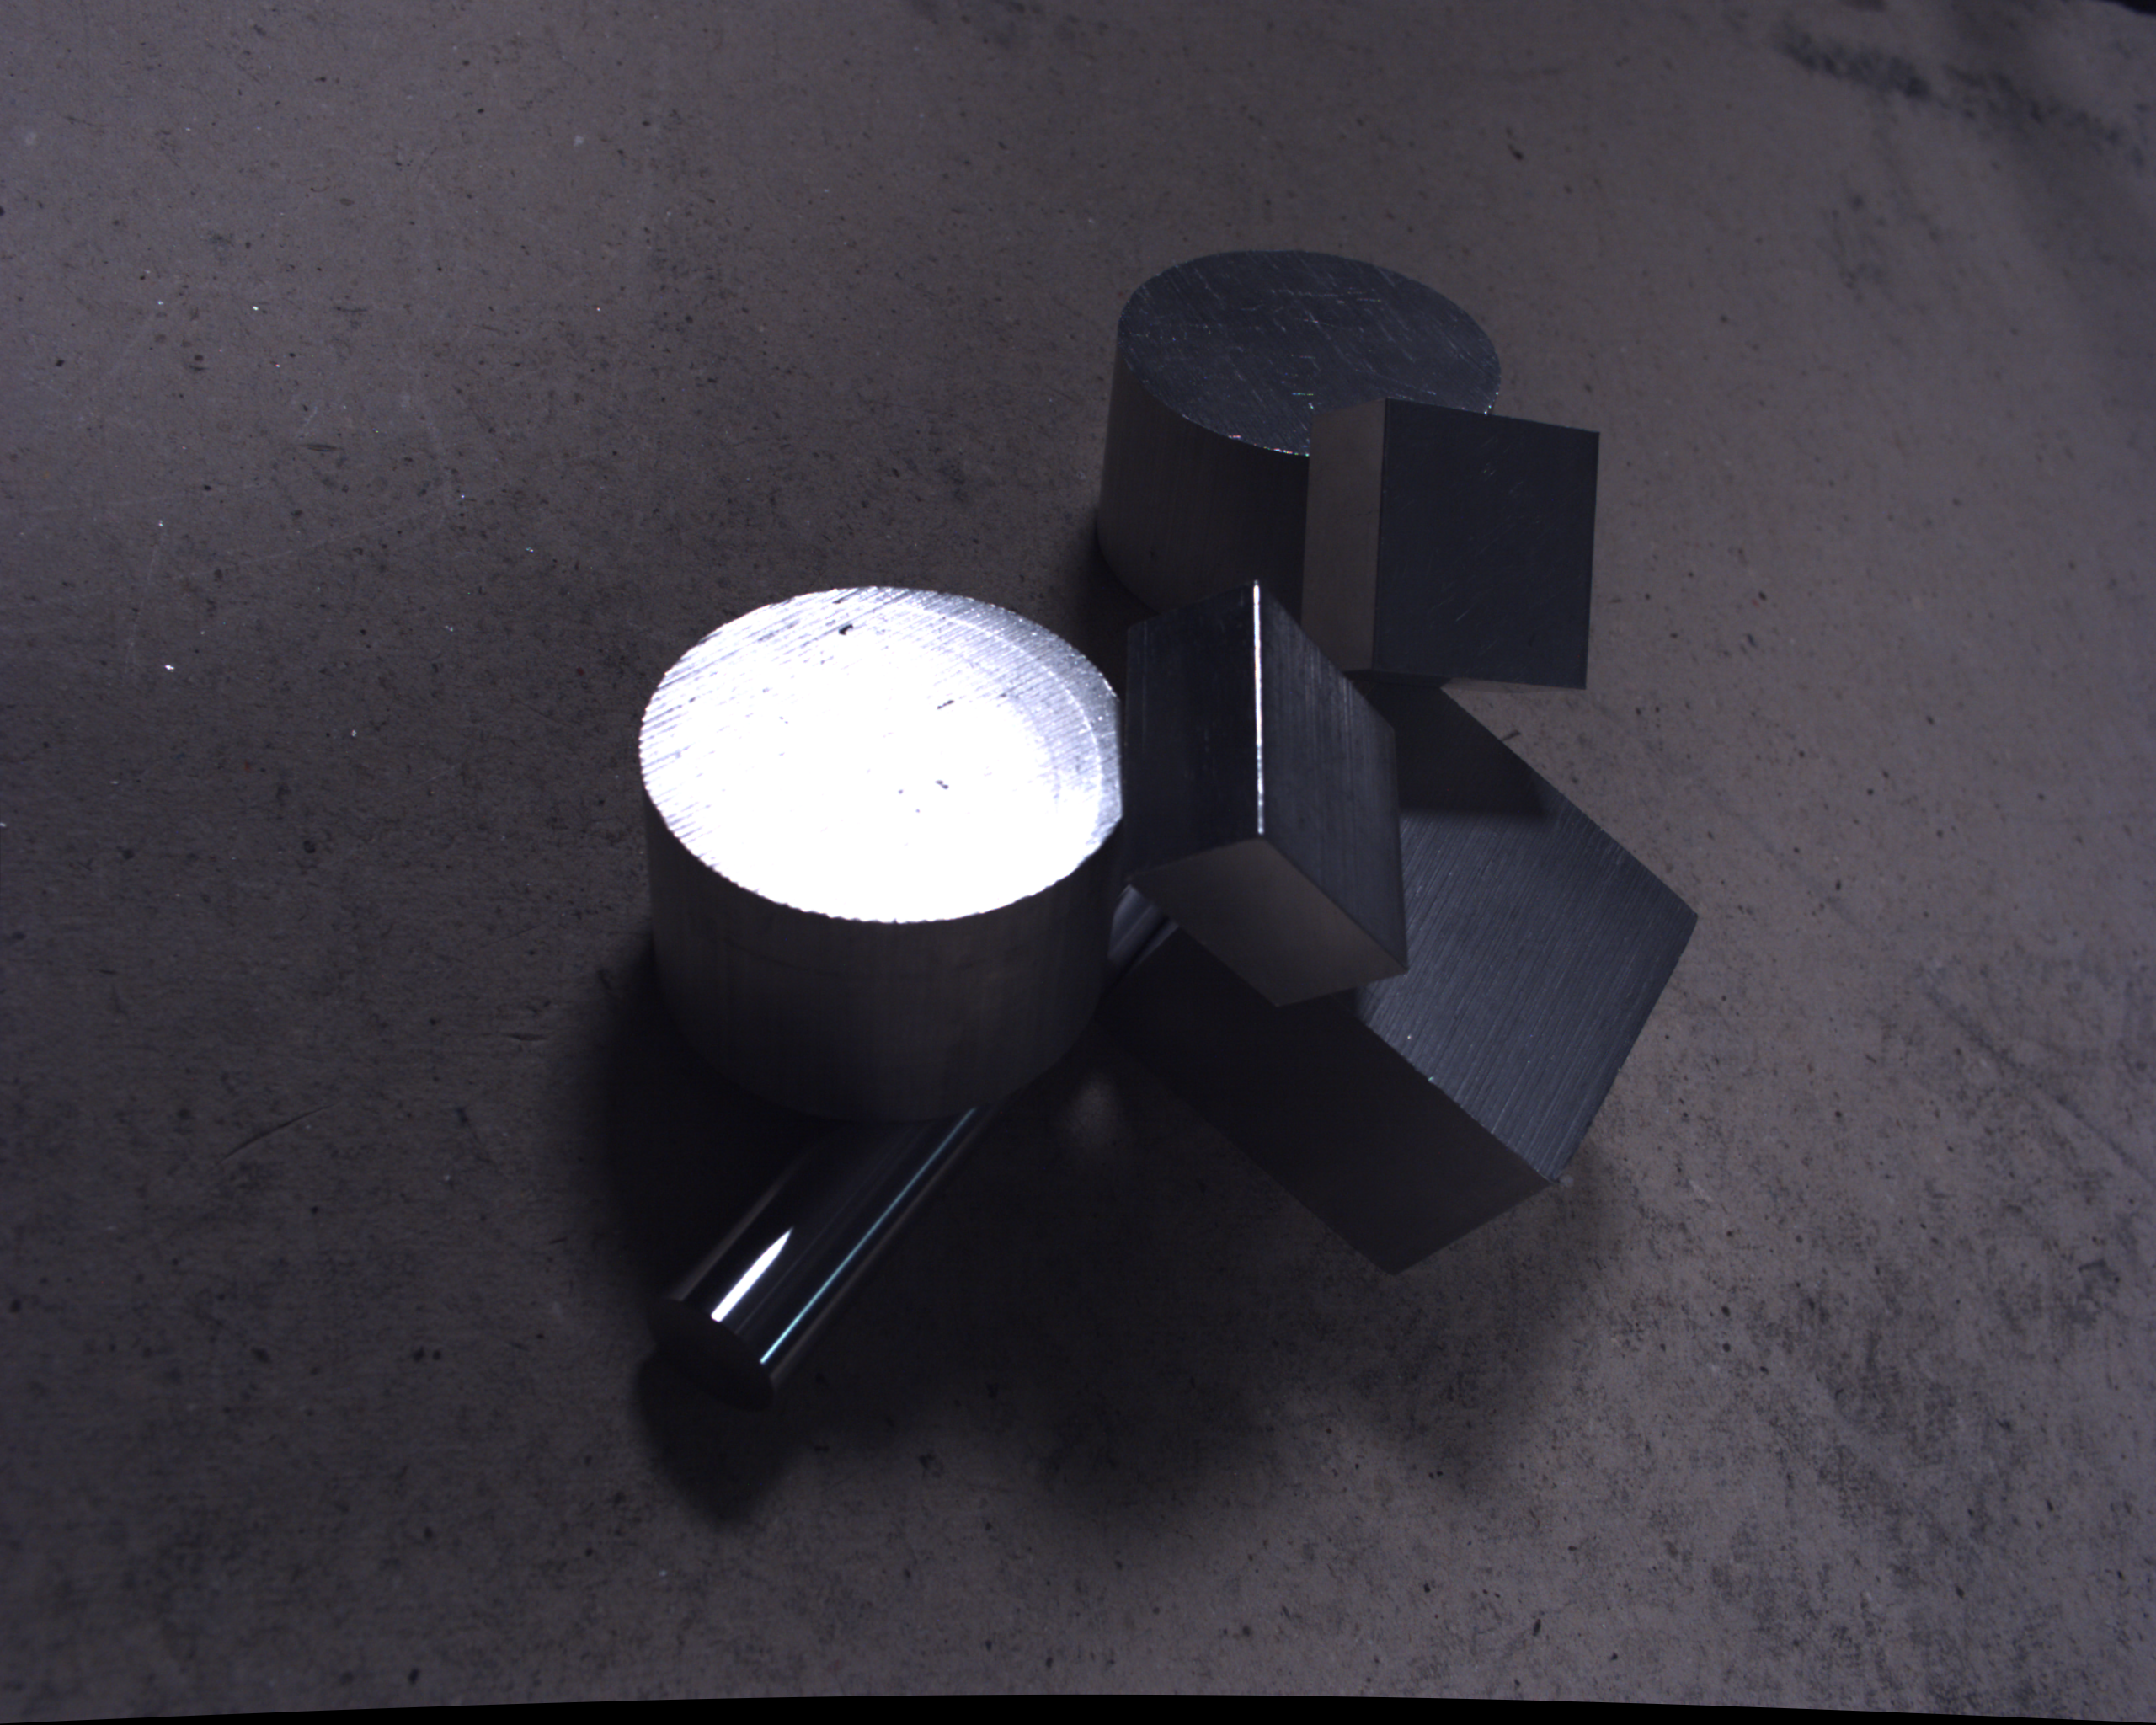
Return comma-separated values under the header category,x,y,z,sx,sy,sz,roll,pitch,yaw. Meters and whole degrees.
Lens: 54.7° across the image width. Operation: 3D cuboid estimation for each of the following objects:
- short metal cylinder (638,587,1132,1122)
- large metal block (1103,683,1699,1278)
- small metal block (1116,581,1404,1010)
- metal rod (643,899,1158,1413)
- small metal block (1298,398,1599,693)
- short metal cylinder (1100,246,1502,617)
category,x,y,z,sx,sy,sz,roll,pitch,yaw
short metal cylinder,-0.032,-0.003,0.357,0.081,0.050,0.080,3,45,-3
large metal block,0.063,0.020,0.411,0.080,0.050,0.080,41,51,0
small metal block,0.031,-0.010,0.350,0.050,0.025,0.050,40,42,-45
metal rod,0.019,-0.010,0.423,0.025,0.025,0.301,42,51,0
small metal block,0.071,-0.059,0.401,0.050,0.025,0.050,2,91,-28
short metal cylinder,0.047,-0.091,0.453,0.081,0.050,0.080,3,45,-3
